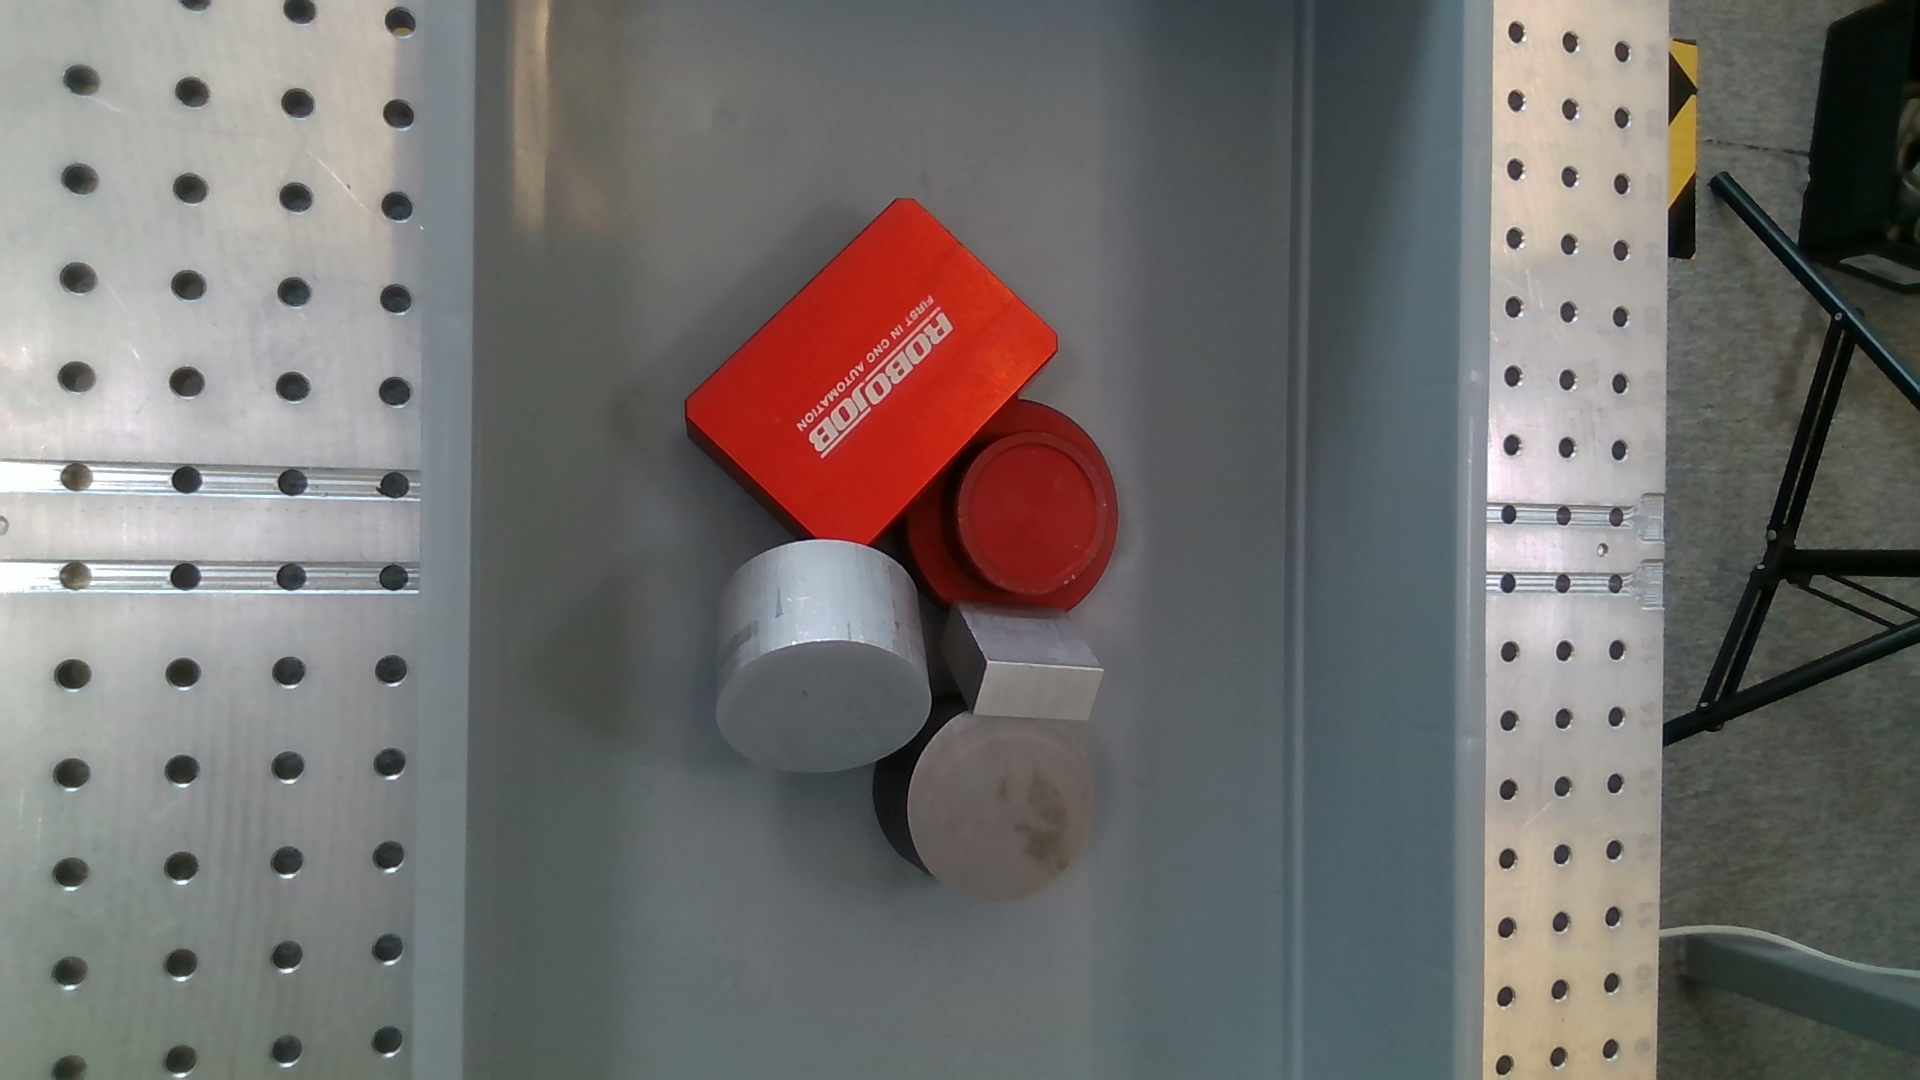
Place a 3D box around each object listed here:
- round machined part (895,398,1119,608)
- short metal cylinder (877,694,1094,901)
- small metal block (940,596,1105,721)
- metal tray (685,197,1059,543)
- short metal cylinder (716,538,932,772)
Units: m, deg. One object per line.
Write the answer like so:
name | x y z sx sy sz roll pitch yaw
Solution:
round machined part | 0.024 -0.012 0.584 0.098 0.042 0.098 0 90 -20
short metal cylinder | 0.009 0.105 0.576 0.080 0.050 0.080 0 90 -20
small metal block | 0.024 0.048 0.561 0.050 0.050 0.025 6 116 -21
metal tray | -0.035 -0.064 0.557 0.090 0.030 0.130 43 76 0
short metal cylinder | -0.053 0.045 0.529 0.080 0.080 0.050 10 43 -20
